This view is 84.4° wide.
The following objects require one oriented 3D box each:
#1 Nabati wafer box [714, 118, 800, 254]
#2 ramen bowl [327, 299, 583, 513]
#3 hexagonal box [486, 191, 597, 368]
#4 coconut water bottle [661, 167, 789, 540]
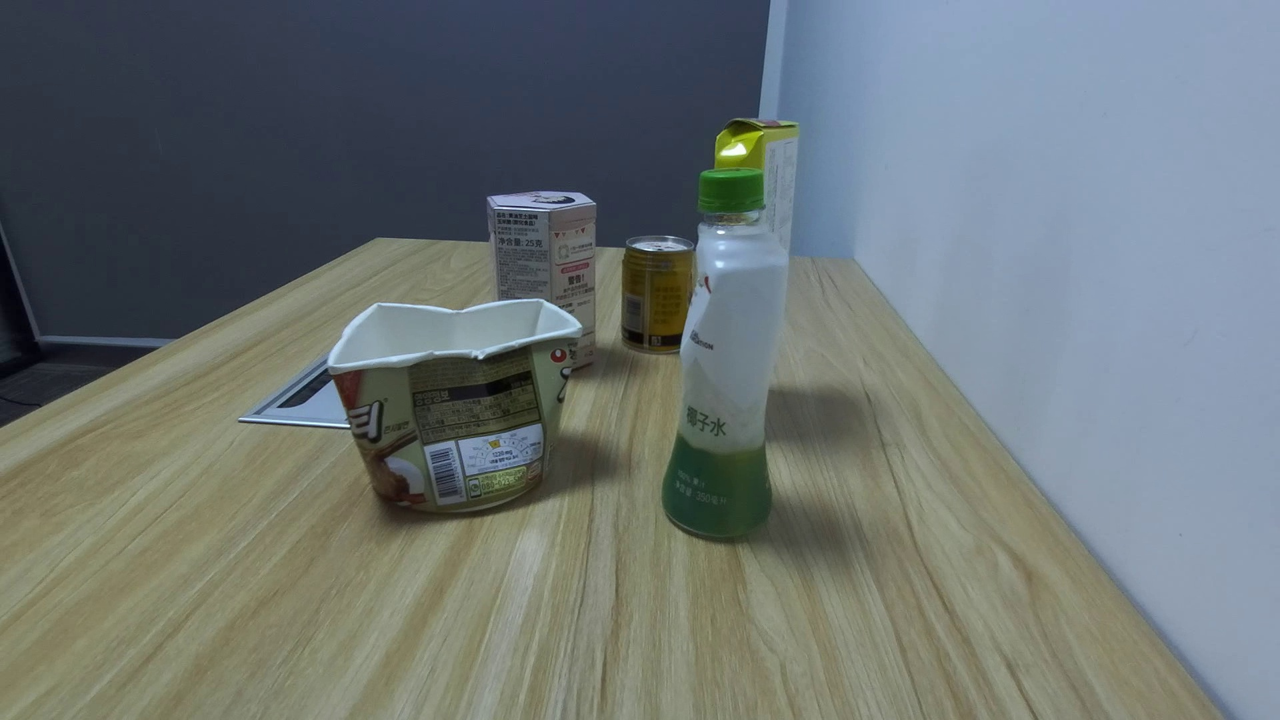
[{"bbox_3d":[0.072,-0.056,0.483,0.042,0.205,0.113,12,24,18],"label":"Nabati wafer box"},{"bbox_3d":[-0.101,0.022,0.423,0.128,0.093,0.111,-2,23,-9],"label":"ramen bowl"},{"bbox_3d":[-0.080,-0.065,0.581,0.083,0.136,0.091,21,30,38],"label":"hexagonal box"},{"bbox_3d":[0.046,-0.003,0.366,0.069,0.187,0.069,1,23,0],"label":"coconut water bottle"}]
